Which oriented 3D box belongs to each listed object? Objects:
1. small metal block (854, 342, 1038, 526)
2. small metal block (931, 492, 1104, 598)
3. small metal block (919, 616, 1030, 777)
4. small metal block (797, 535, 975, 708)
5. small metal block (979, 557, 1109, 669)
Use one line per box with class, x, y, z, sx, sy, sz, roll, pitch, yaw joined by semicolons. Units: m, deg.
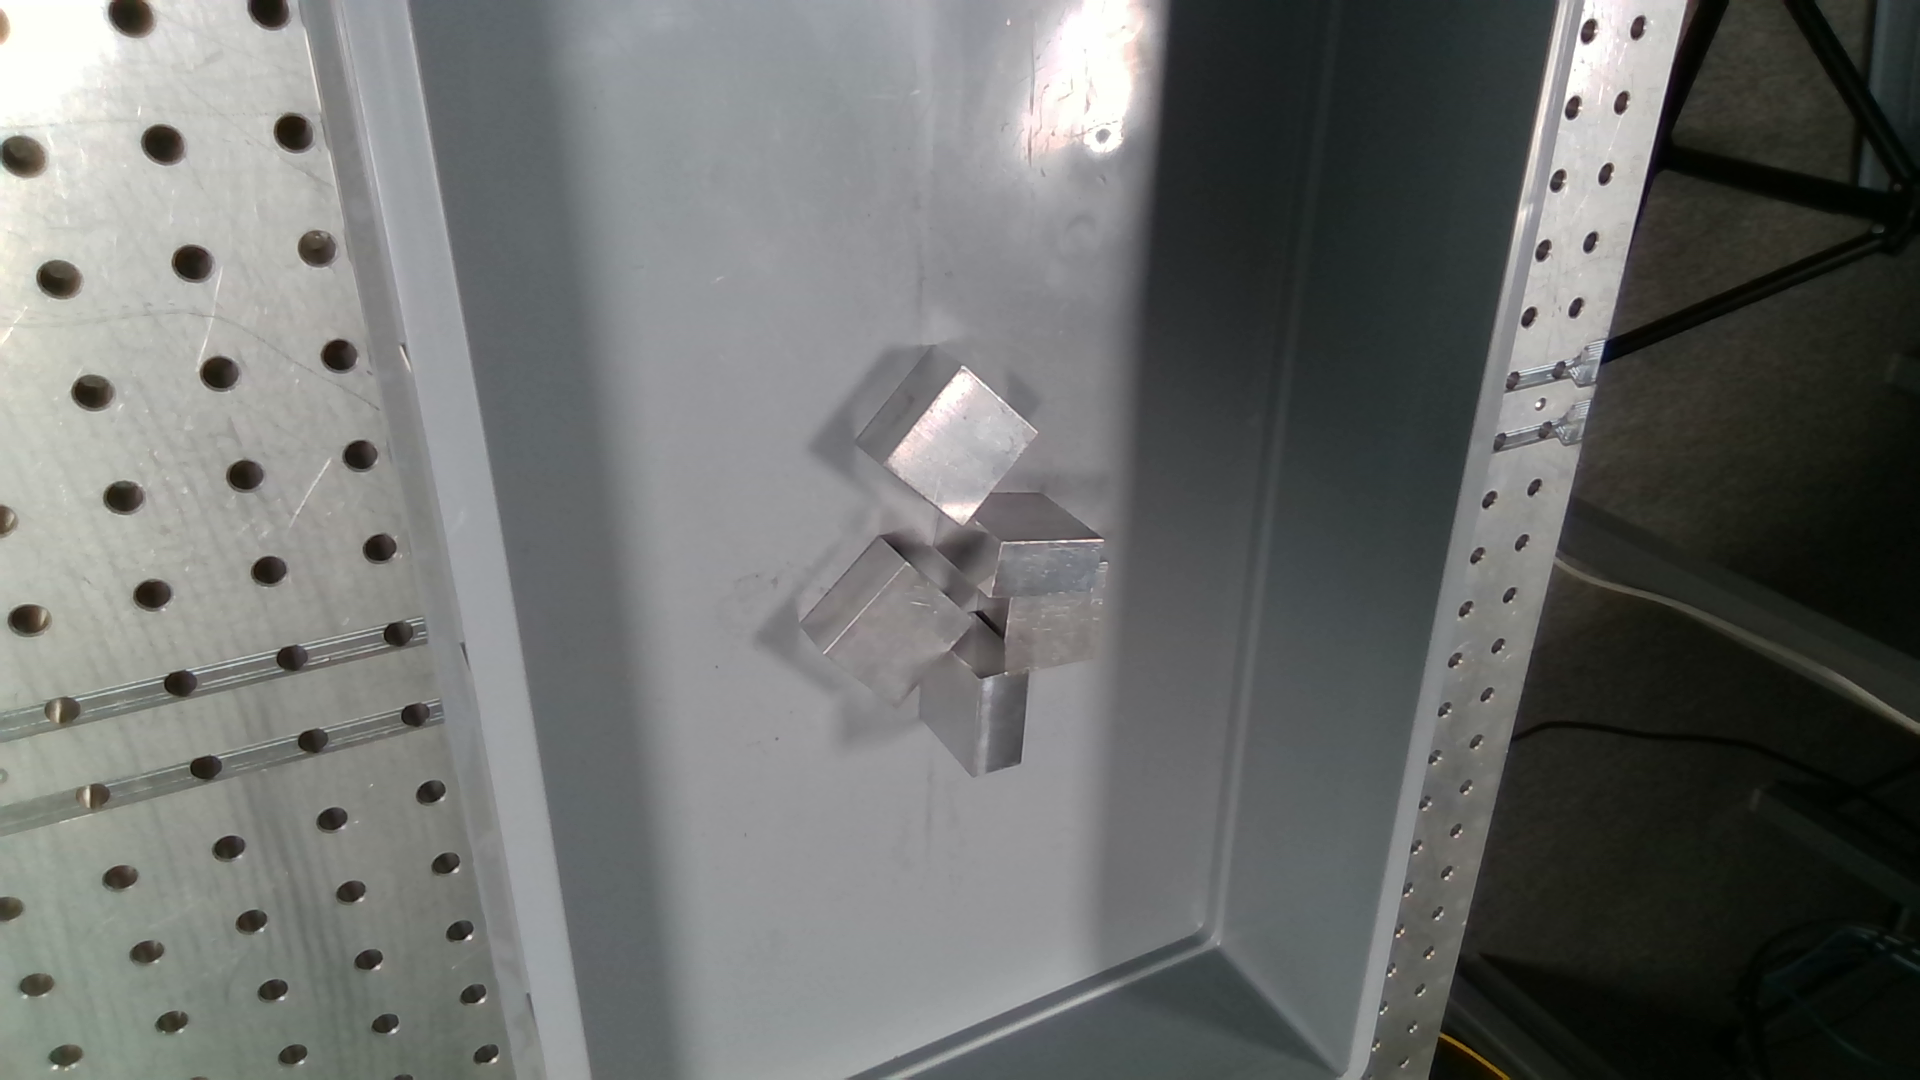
small metal block;-0.005;-0.042;0.553;0.050;0.025;0.050;-51;129;2
small metal block;0.023;0.001;0.577;0.050;0.050;0.025;-2;116;-31
small metal block;0.005;0.066;0.602;0.025;0.050;0.050;-12;120;-26
small metal block;-0.031;0.035;0.578;0.050;0.025;0.050;-48;129;0
small metal block;0.035;0.029;0.616;0.050;0.025;0.050;-8;119;-28
